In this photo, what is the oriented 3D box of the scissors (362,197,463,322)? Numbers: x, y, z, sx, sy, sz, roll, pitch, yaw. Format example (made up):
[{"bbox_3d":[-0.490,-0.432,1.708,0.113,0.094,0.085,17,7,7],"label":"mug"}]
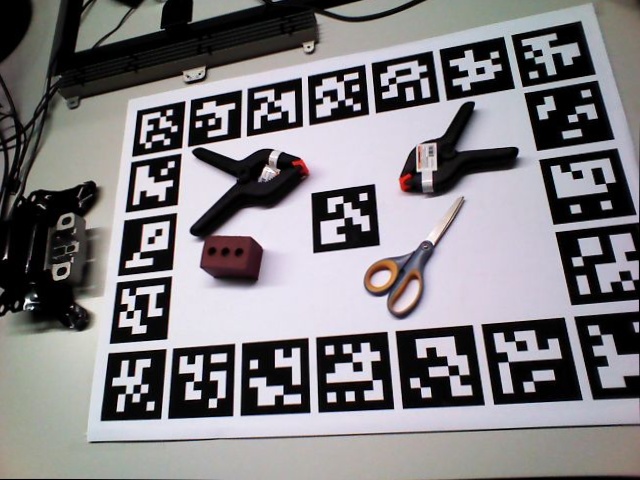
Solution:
[{"bbox_3d":[0.142,0.017,0.730,0.088,0.016,0.202,34,81,16],"label":"scissors"}]

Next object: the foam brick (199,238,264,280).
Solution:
[{"bbox_3d":[-0.135,0.029,0.790,0.078,0.051,0.052,-1,72,20],"label":"foam brick"}]

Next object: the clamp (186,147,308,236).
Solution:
[{"bbox_3d":[-0.121,-0.098,0.839,0.204,0.036,0.164,-11,65,11],"label":"clamp"}]

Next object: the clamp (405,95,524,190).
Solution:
[{"bbox_3d":[0.197,-0.127,0.764,0.165,0.036,0.122,-33,72,3],"label":"clamp"}]
